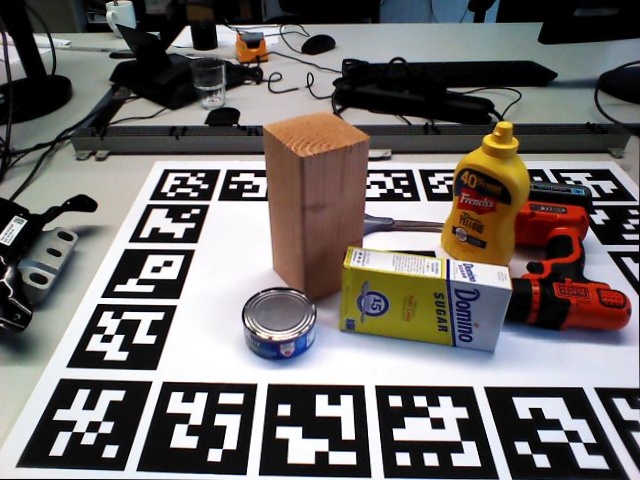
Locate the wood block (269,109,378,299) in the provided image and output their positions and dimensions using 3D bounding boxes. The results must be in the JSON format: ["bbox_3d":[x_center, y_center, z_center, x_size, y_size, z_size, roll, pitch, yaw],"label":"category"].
[{"bbox_3d":[0.004,-0.037,0.619,0.090,0.207,0.090,-19,43,-20],"label":"wood block"}]

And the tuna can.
[{"bbox_3d":[-0.039,0.087,0.583,0.086,0.034,0.085,-1,40,0],"label":"tuna can"}]

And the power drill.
[{"bbox_3d":[0.272,0.021,0.641,0.185,0.057,0.185,8,47,12],"label":"power drill"}]

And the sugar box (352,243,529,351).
[{"bbox_3d":[0.127,0.063,0.569,0.177,0.093,0.045,9,37,10],"label":"sugar box"}]

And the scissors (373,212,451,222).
[{"bbox_3d":[0.087,-0.034,0.747,0.203,0.016,0.087,1,35,4],"label":"scissors"}]

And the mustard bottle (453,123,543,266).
[{"bbox_3d":[0.224,-0.056,0.645,0.058,0.192,0.096,-29,47,-28],"label":"mustard bottle"}]
